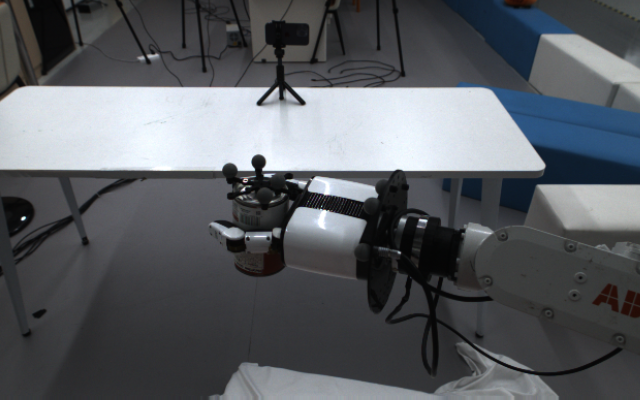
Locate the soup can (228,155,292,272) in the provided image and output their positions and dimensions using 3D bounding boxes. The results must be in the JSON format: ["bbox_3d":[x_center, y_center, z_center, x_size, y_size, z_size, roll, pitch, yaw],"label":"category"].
[{"bbox_3d":[-0.069,0.032,0.580,0.067,0.101,0.067,3,30,-2],"label":"soup can"}]
